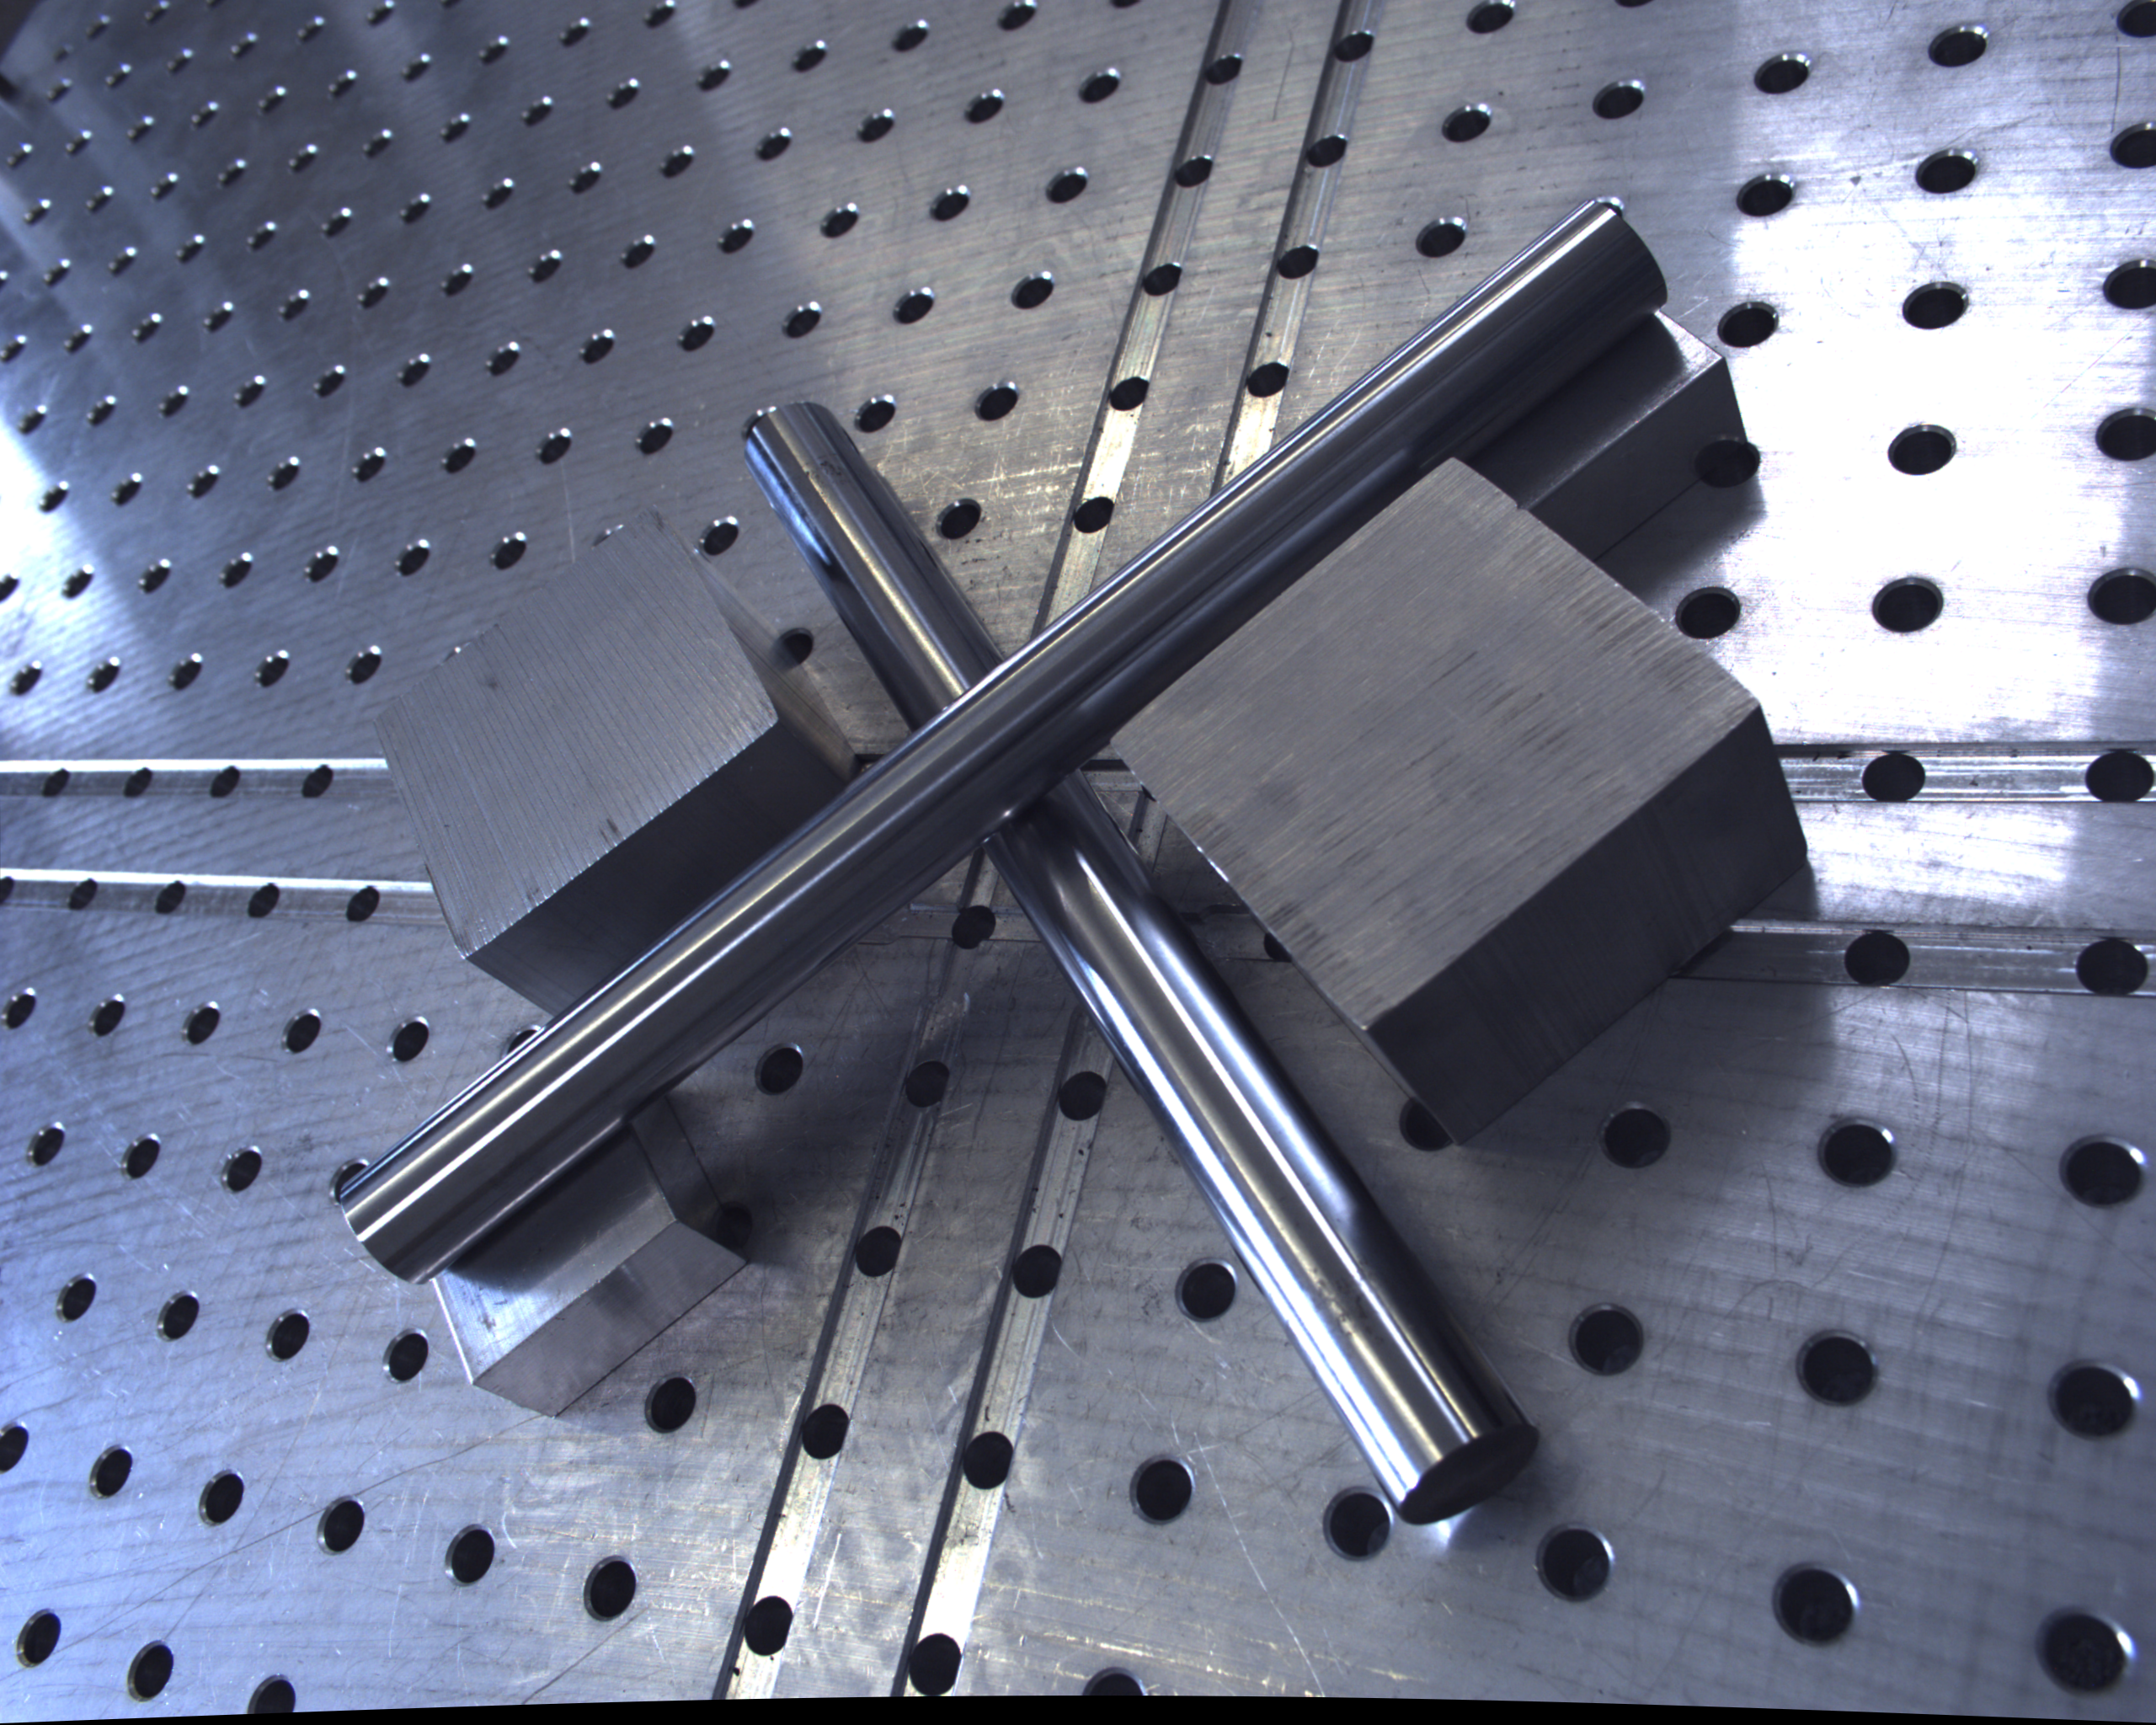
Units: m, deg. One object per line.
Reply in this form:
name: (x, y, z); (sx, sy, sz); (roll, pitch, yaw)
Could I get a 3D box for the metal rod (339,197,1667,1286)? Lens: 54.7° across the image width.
metal rod: (-0.015, -0.022, 0.397); (0.300, 0.025, 0.025); (-38, 51, 2)

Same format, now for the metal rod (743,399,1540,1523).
metal rod: (-0.005, -0.004, 0.412); (0.025, 0.025, 0.300); (-37, 51, 4)

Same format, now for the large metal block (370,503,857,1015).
large metal block: (-0.097, -0.018, 0.454); (0.080, 0.050, 0.080); (-37, 51, 3)

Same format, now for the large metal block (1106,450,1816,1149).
large metal block: (0.066, -0.012, 0.365); (0.080, 0.050, 0.080); (-40, 51, 1)

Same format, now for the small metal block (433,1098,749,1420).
small metal block: (-0.101, 0.073, 0.417); (0.050, 0.025, 0.050); (-39, 51, 2)

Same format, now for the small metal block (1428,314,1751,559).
small metal block: (0.095, -0.088, 0.413); (0.050, 0.025, 0.050); (-38, 51, 3)
